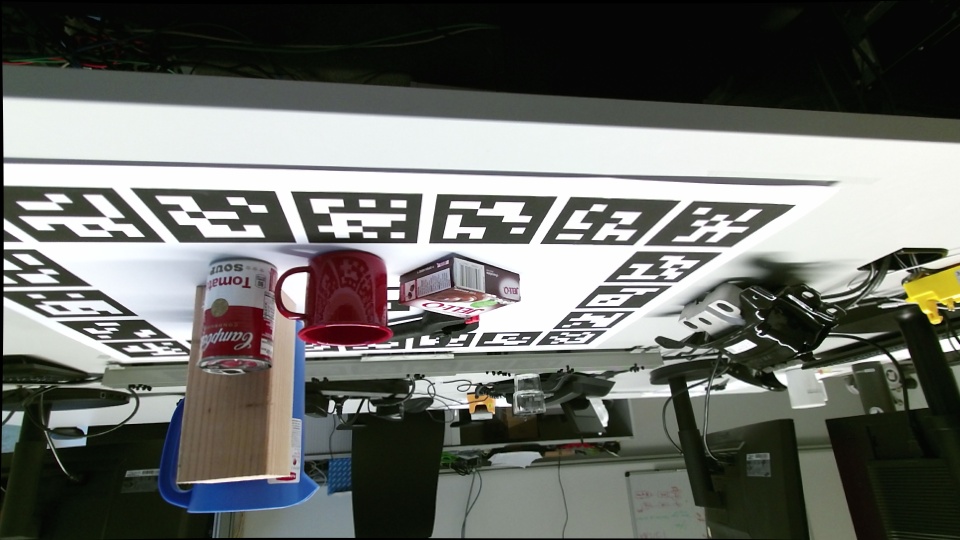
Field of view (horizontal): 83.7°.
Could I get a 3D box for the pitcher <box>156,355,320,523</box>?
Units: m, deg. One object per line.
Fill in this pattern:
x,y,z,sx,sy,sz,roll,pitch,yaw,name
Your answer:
-0.309,0.196,0.696,0.189,0.241,0.133,-4,160,-12,pitcher

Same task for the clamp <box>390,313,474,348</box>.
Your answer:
-0.063,0.085,0.766,0.122,0.036,0.165,21,147,-34,clamp

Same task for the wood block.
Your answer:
-0.265,0.134,0.597,0.090,0.205,0.091,1,157,-7,wood block

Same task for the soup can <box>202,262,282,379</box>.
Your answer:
-0.237,0.051,0.538,0.068,0.101,0.068,-5,155,-2,soup can

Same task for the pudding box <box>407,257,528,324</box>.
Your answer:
-0.014,0.027,0.622,0.090,0.038,0.114,-26,151,35,pudding box

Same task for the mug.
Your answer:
-0.143,0.032,0.543,0.093,0.081,0.117,-21,154,39,mug
